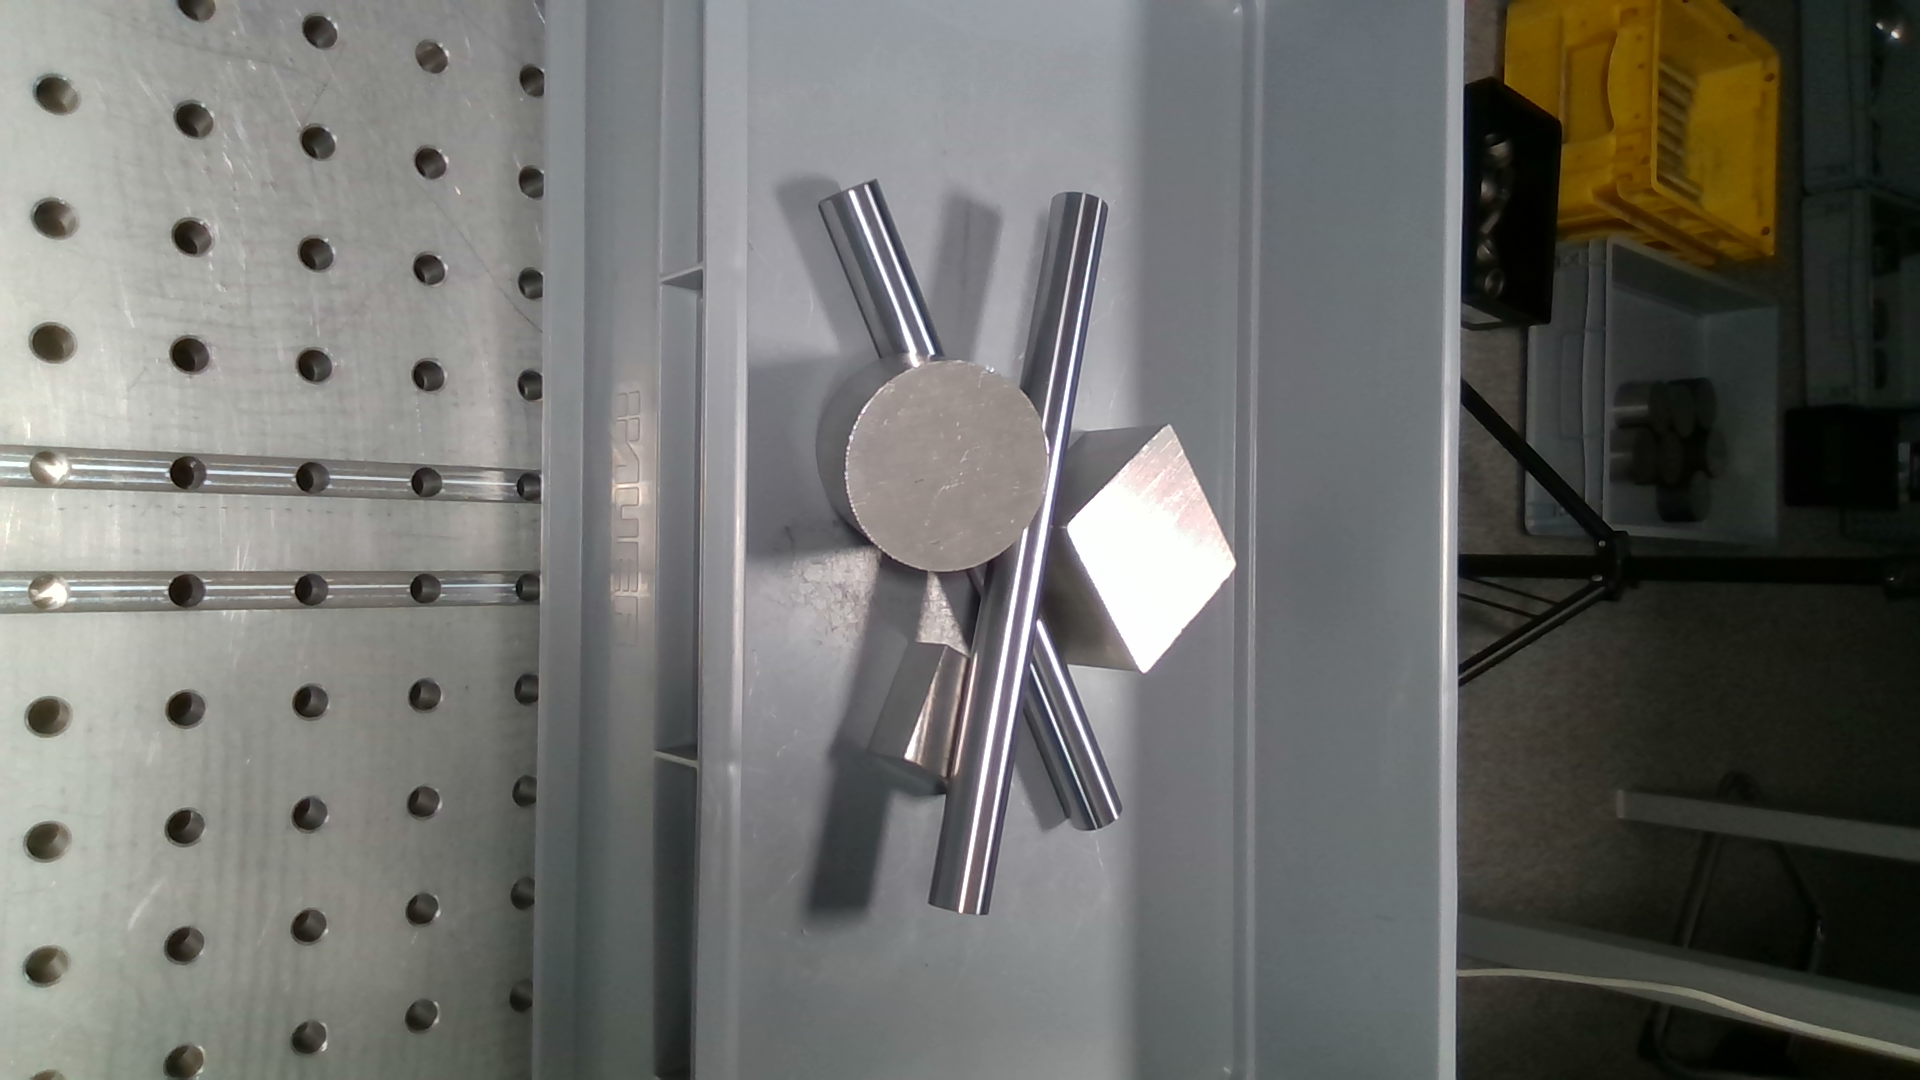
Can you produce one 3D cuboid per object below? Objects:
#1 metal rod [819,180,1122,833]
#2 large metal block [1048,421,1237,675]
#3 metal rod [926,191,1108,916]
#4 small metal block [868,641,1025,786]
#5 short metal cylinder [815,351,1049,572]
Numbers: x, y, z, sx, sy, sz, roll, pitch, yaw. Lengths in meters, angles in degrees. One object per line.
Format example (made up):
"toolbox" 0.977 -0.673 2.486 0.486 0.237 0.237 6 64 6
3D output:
"metal rod" 0.009 -0.005 0.589 0.025 0.025 0.301 -35 112 -35
"large metal block" 0.070 0.003 0.624 0.080 0.050 0.080 -44 116 -31
"metal rod" 0.025 0.001 0.570 0.025 0.025 0.300 17 79 -39
"small metal block" -0.004 0.076 0.576 0.050 0.025 0.050 33 69 -35
"short metal cylinder" -0.012 -0.032 0.537 0.080 0.050 0.080 -4 103 -18
